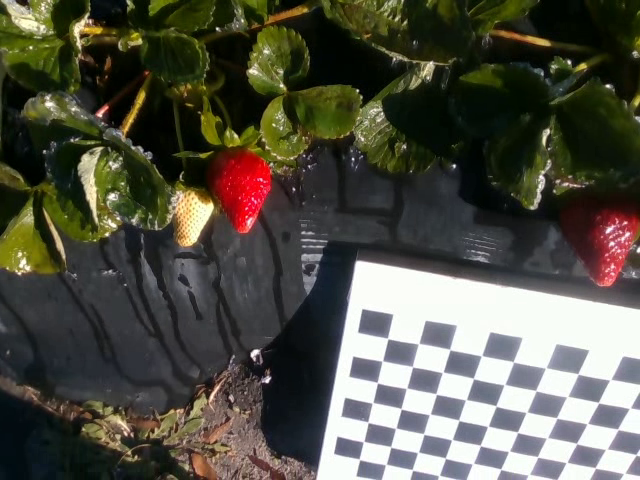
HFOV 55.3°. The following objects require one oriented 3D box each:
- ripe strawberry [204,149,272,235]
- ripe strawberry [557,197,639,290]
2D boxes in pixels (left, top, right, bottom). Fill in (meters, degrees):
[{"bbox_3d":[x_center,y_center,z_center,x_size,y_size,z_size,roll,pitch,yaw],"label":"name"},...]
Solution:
[{"bbox_3d":[-0.051,-0.028,0.400,0.042,0.061,0.046,-2,-11,11],"label":"ripe strawberry"},{"bbox_3d":[0.173,0.004,0.373,0.048,0.061,0.044,4,0,7],"label":"ripe strawberry"}]
